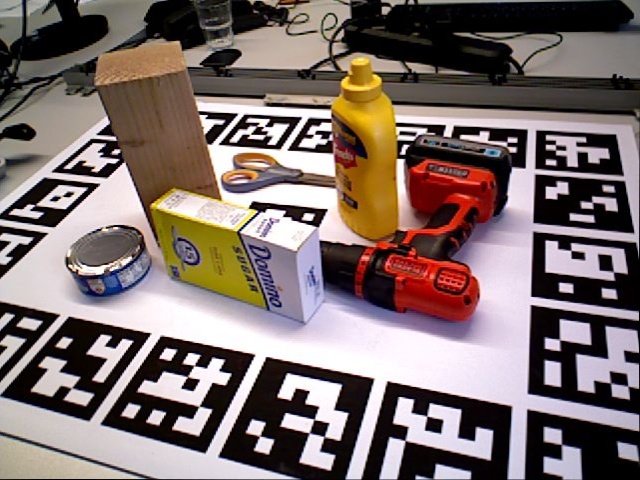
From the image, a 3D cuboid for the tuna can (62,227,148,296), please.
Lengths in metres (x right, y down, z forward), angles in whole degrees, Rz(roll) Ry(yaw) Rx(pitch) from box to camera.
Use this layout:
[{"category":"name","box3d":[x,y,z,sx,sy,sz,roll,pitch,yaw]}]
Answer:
[{"category":"tuna can","box3d":[-0.234,0.020,0.594,0.085,0.034,0.084,-5,42,4]}]

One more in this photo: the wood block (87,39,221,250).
[{"category":"wood block","box3d":[-0.173,-0.102,0.607,0.090,0.210,0.089,-13,42,-5]}]

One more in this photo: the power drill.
[{"category":"power drill","box3d":[0.085,-0.018,0.562,0.185,0.058,0.183,16,54,26]}]

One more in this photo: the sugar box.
[{"category":"sugar box","box3d":[-0.076,0.012,0.535,0.177,0.095,0.044,16,44,24]}]

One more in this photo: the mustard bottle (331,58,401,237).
[{"category":"mustard bottle","box3d":[0.047,-0.100,0.572,0.058,0.195,0.095,-22,44,-14]}]

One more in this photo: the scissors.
[{"category":"scissors","box3d":[-0.061,-0.094,0.707,0.203,0.016,0.085,7,40,19]}]
